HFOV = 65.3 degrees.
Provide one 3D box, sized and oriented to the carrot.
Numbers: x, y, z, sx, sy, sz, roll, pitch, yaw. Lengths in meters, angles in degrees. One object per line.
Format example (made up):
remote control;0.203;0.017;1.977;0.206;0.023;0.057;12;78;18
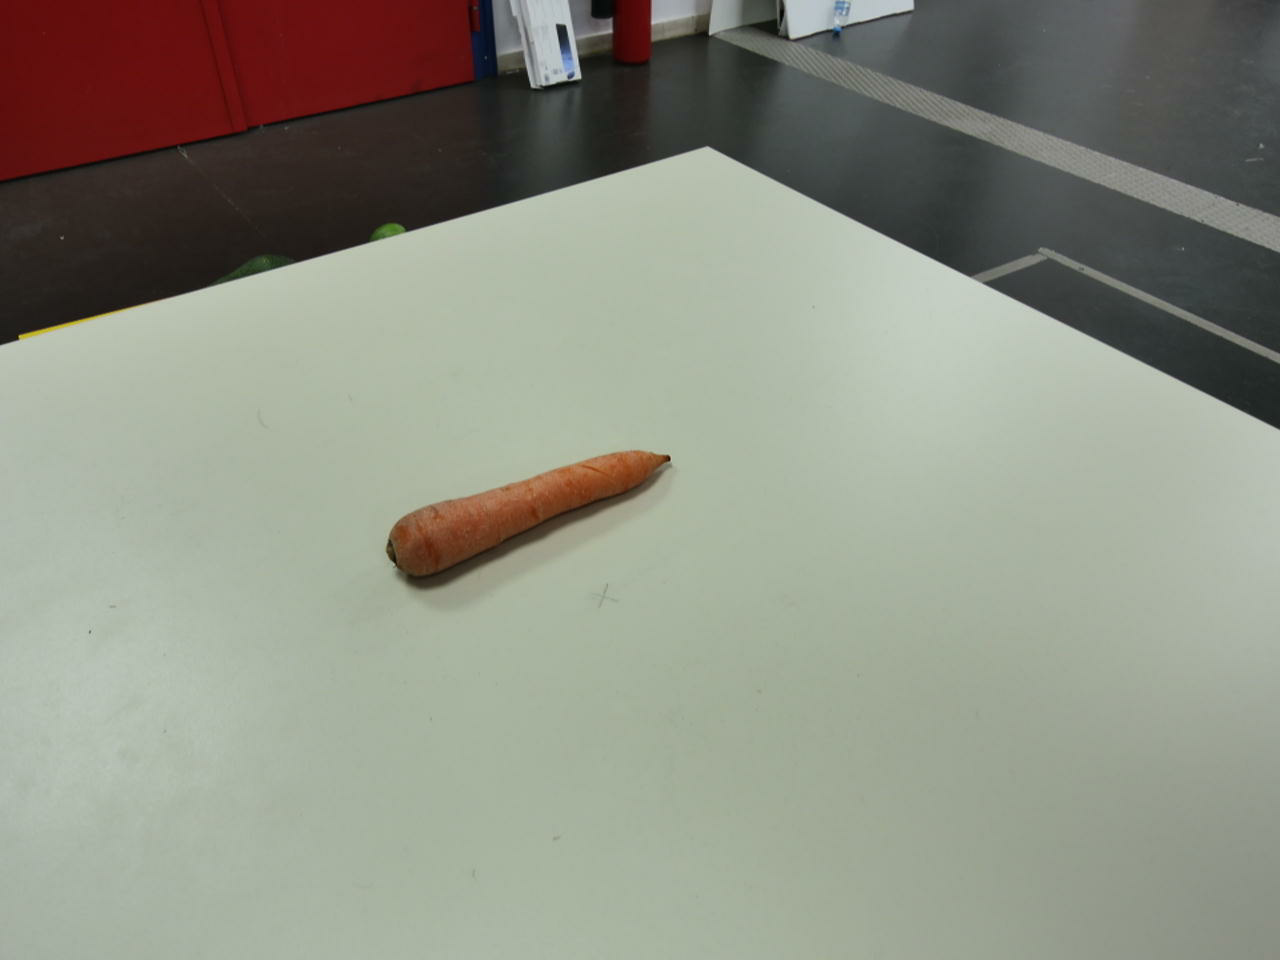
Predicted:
carrot;-0.061;0.009;0.607;0.196;0.041;0.039;-24;45;-28
